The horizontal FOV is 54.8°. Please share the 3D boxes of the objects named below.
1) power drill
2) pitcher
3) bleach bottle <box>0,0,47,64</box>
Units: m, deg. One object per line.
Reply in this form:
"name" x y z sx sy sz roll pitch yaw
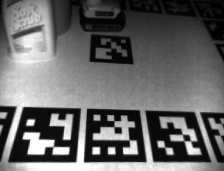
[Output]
"power drill" -0.009 -0.226 0.471 0.186 0.187 0.057 -3 56 -16
"pitcher" -0.173 -0.214 0.428 0.190 0.243 0.132 -25 61 -22
"bleach bottle" -0.174 -0.145 0.350 0.103 0.251 0.067 -8 55 -11
